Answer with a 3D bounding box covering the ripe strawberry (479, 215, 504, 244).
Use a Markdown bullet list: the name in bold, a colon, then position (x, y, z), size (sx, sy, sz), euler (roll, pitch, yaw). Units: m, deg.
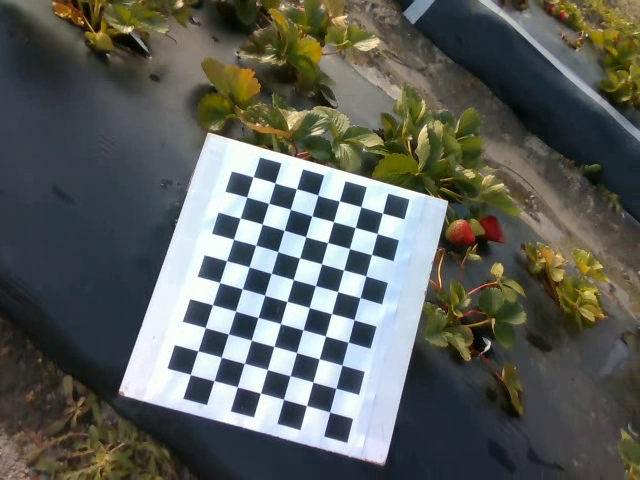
- **ripe strawberry**: position (0.299, -0.016, 0.992), size (0.048, 0.065, 0.050), euler (-32, -11, -9)
